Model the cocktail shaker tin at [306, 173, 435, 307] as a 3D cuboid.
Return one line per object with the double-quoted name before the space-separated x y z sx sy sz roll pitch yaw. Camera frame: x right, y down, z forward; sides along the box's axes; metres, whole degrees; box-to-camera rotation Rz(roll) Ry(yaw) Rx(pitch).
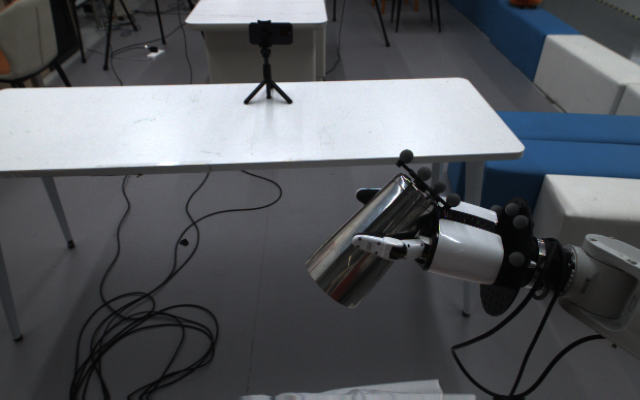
"cocktail shaker tin" 0.072 0.045 0.632 0.093 0.170 0.093 41 12 -11
